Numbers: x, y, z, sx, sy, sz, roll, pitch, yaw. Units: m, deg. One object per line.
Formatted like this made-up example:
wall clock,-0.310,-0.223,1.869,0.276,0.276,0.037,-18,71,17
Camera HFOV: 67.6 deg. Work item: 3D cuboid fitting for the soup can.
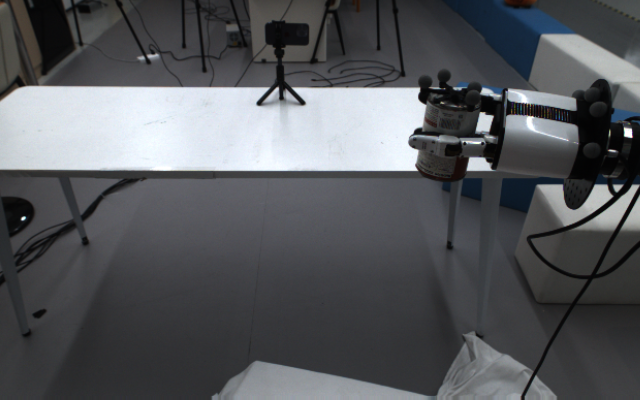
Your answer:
soup can,0.165,-0.085,0.629,0.067,0.101,0.067,2,32,-1
